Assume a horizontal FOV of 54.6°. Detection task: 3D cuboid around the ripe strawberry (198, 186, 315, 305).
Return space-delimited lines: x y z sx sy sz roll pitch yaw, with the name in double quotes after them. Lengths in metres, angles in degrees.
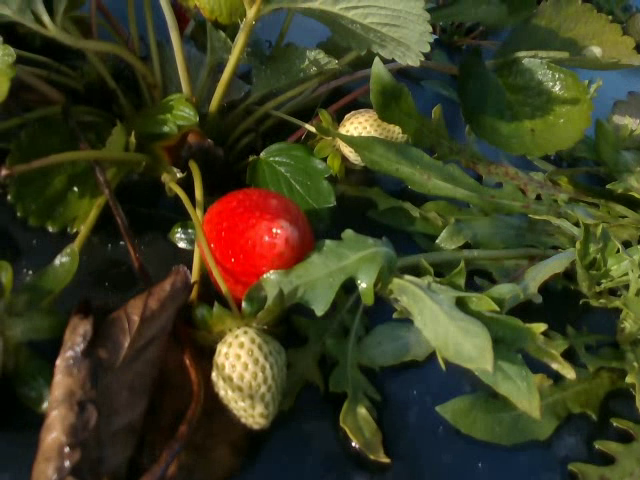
-0.014 -0.002 0.169 0.039 0.032 0.049 -1 -7 -21 "ripe strawberry"
